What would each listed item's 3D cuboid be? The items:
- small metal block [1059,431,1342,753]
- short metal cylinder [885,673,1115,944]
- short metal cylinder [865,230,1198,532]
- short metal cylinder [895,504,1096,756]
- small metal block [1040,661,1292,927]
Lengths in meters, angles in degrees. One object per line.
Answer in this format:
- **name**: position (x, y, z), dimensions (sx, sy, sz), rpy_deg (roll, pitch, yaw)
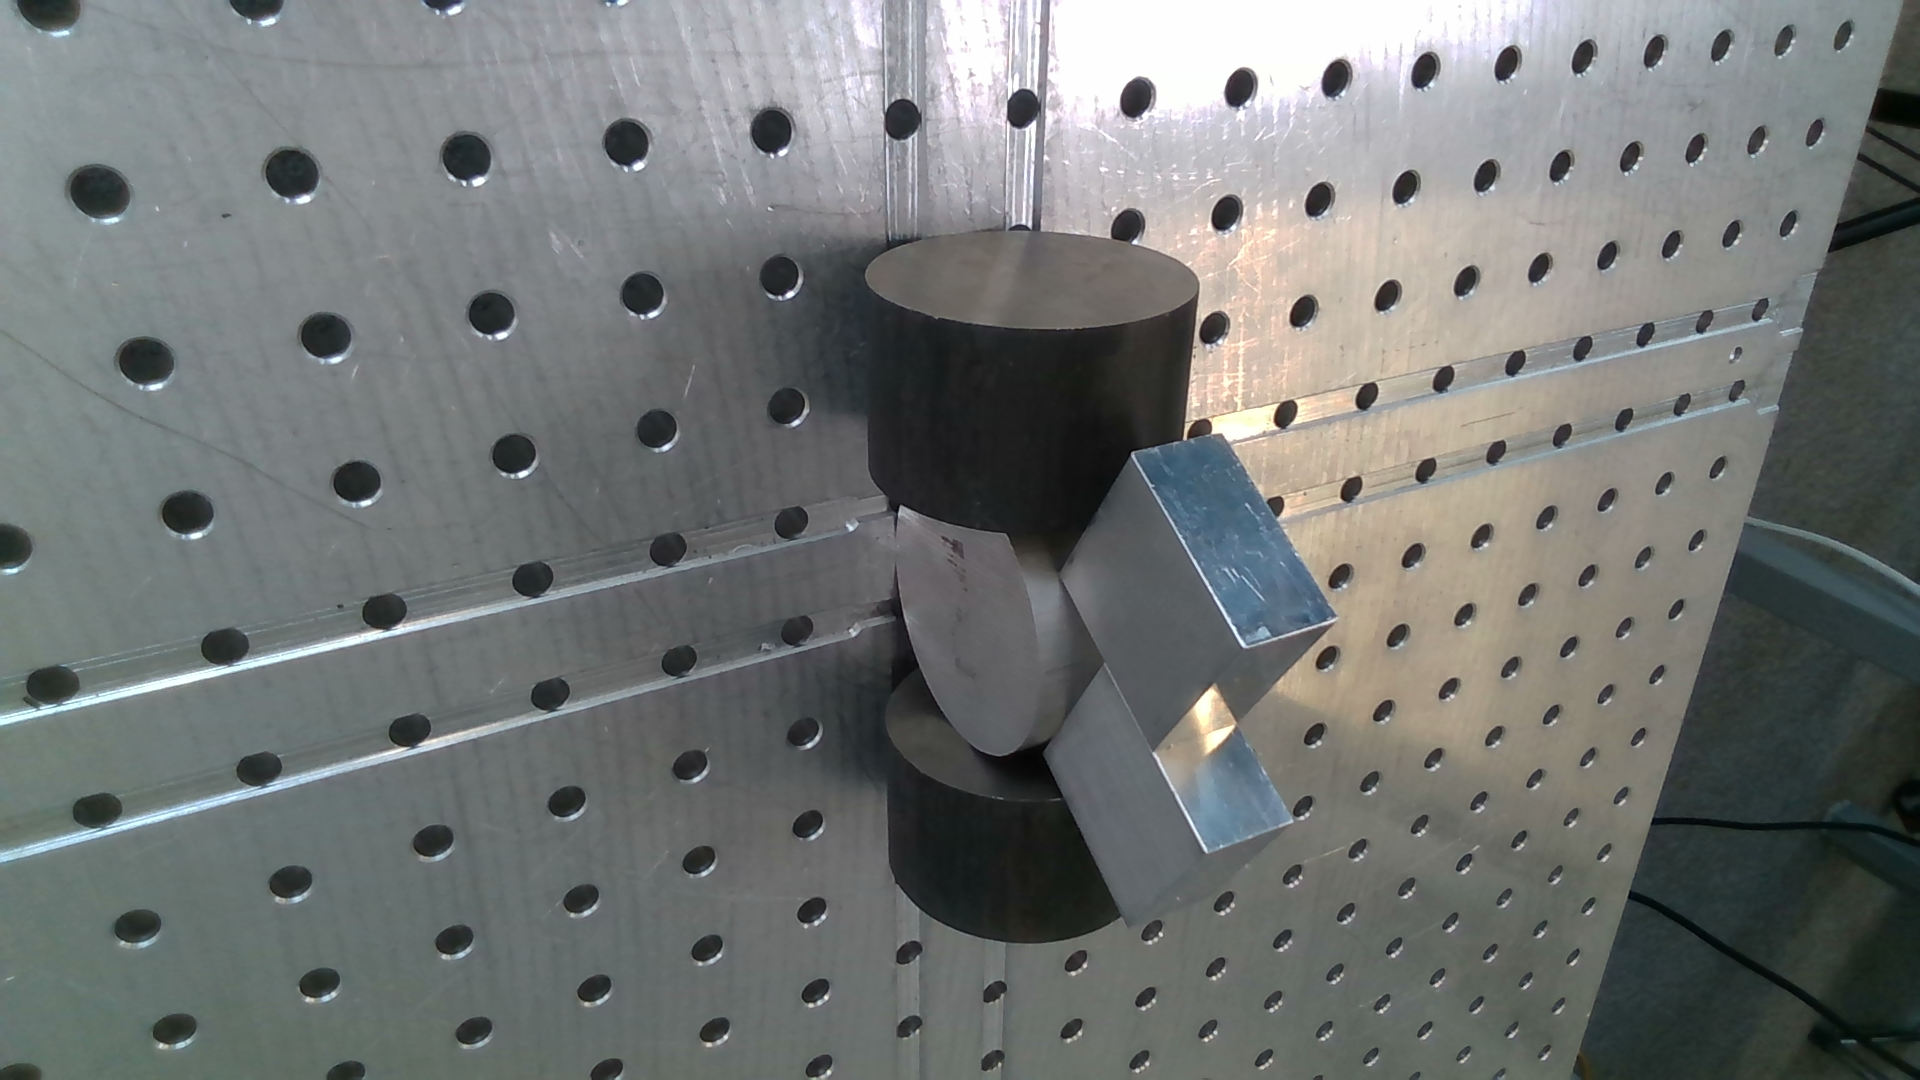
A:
- **small metal block**: position (0.052, 0.012, 0.311), dimensions (0.025, 0.050, 0.050), rpy_deg (-14, 153, -25)
- **short metal cylinder**: position (0.019, 0.072, 0.407), dimensions (0.080, 0.080, 0.050), rpy_deg (-14, 120, -25)
- **short metal cylinder**: position (0.017, -0.042, 0.344), dimensions (0.080, 0.080, 0.050), rpy_deg (-13, 121, -25)
- **short metal cylinder**: position (0.022, 0.013, 0.378), dimensions (0.050, 0.080, 0.080), rpy_deg (-13, 121, -25)
- **small metal block**: position (0.049, 0.060, 0.340), dimensions (0.025, 0.050, 0.050), rpy_deg (-14, 152, -25)
